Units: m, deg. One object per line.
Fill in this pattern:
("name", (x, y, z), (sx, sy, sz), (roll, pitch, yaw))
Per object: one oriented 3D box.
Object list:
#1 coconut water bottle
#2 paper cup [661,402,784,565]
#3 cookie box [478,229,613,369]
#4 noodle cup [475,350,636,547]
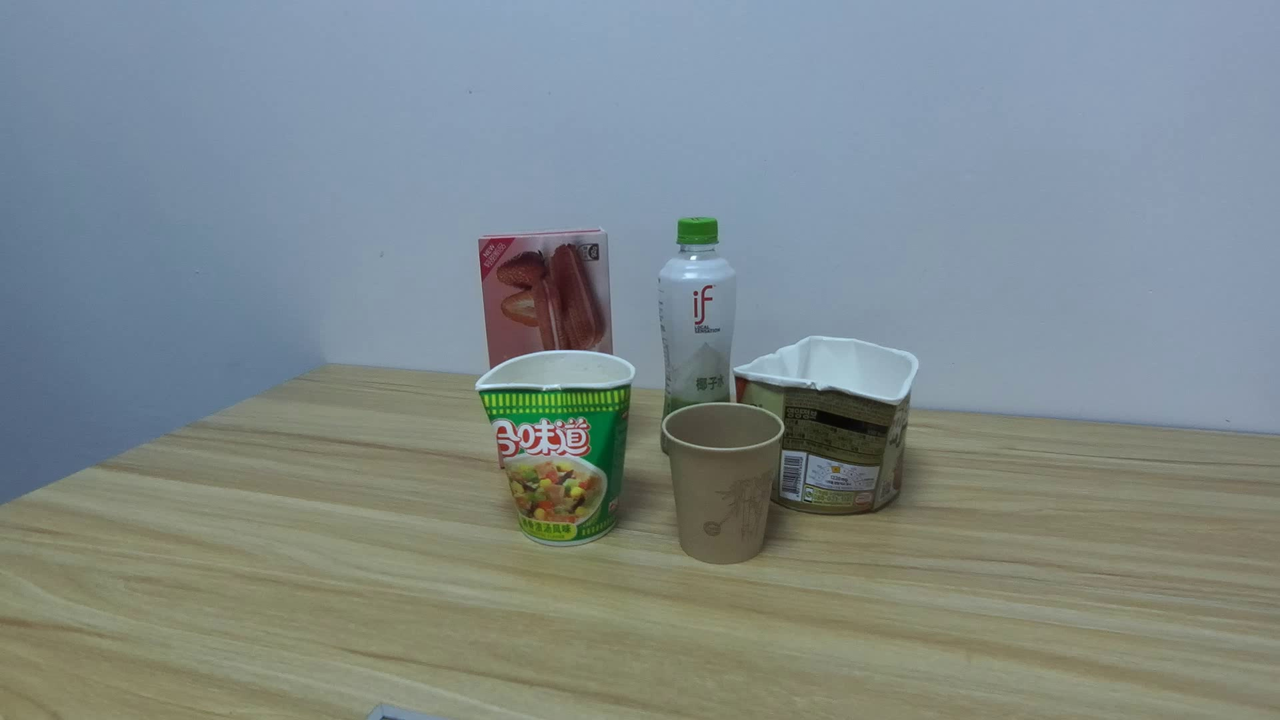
("coconut water bottle", (0.046, -0.016, 0.563), (0.063, 0.188, 0.063), (-1, 14, 1))
("paper cup", (0.051, 0.078, 0.442), (0.075, 0.082, 0.075), (-1, 18, 1))
("cookie box", (-0.069, -0.008, 0.563), (0.096, 0.184, 0.048), (-5, 13, -5))
("noodle cup", (-0.047, 0.057, 0.473), (0.093, 0.109, 0.087), (7, 20, 24))
